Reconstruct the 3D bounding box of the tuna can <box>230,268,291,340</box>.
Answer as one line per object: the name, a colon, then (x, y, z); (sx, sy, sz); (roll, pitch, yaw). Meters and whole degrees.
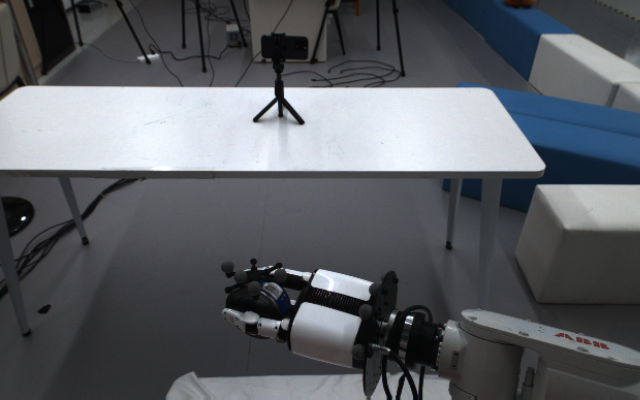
tuna can: (-0.081, 0.146, 0.664); (0.085, 0.085, 0.034); (14, 29, 17)
